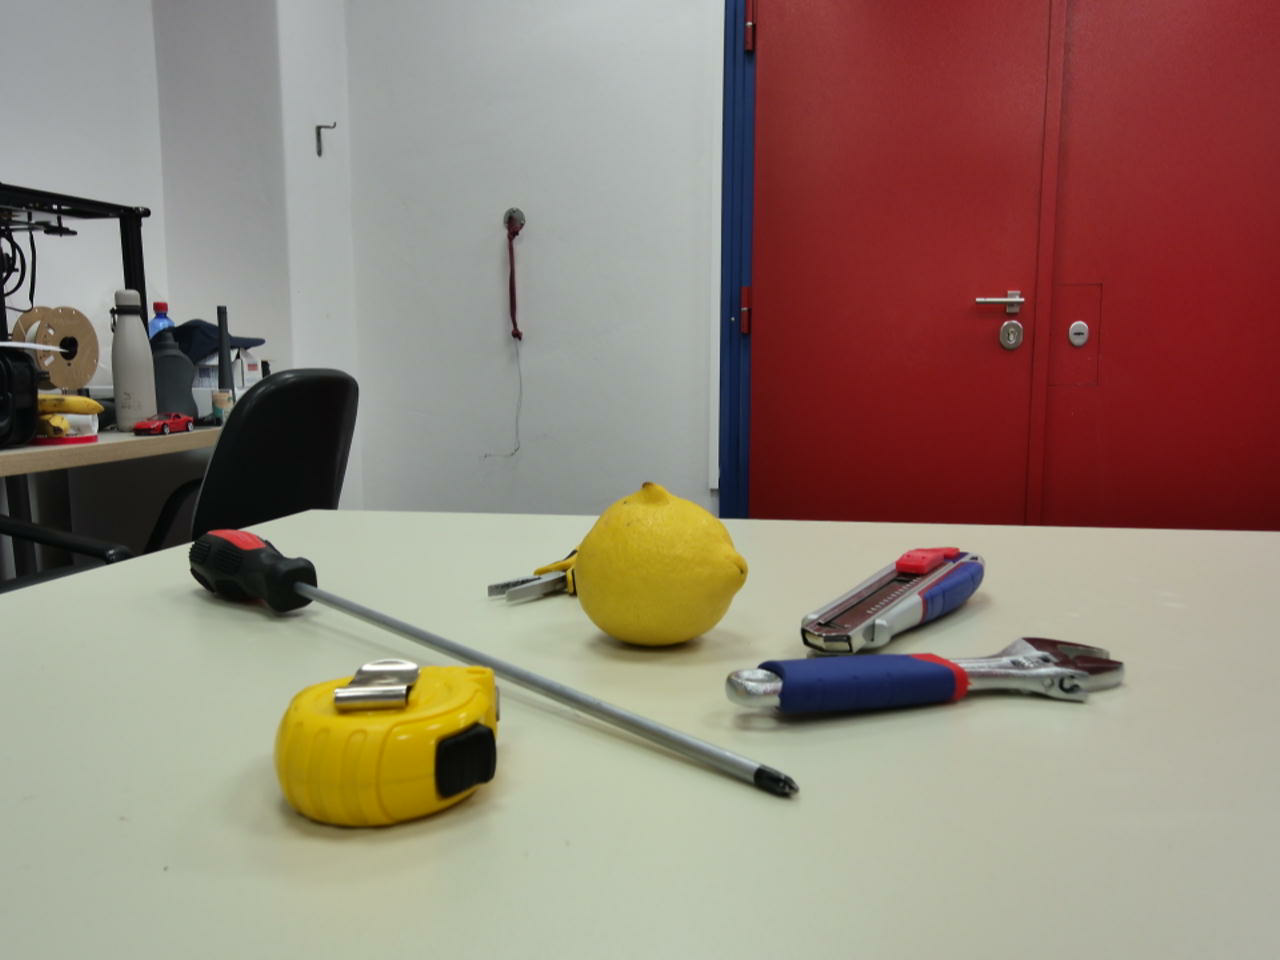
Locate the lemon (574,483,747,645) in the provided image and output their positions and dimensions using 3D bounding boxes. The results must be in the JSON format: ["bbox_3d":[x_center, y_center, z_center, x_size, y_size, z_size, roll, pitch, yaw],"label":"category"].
[{"bbox_3d":[0.007,0.037,0.443,0.070,0.071,0.071,-2,4,-22],"label":"lemon"}]
